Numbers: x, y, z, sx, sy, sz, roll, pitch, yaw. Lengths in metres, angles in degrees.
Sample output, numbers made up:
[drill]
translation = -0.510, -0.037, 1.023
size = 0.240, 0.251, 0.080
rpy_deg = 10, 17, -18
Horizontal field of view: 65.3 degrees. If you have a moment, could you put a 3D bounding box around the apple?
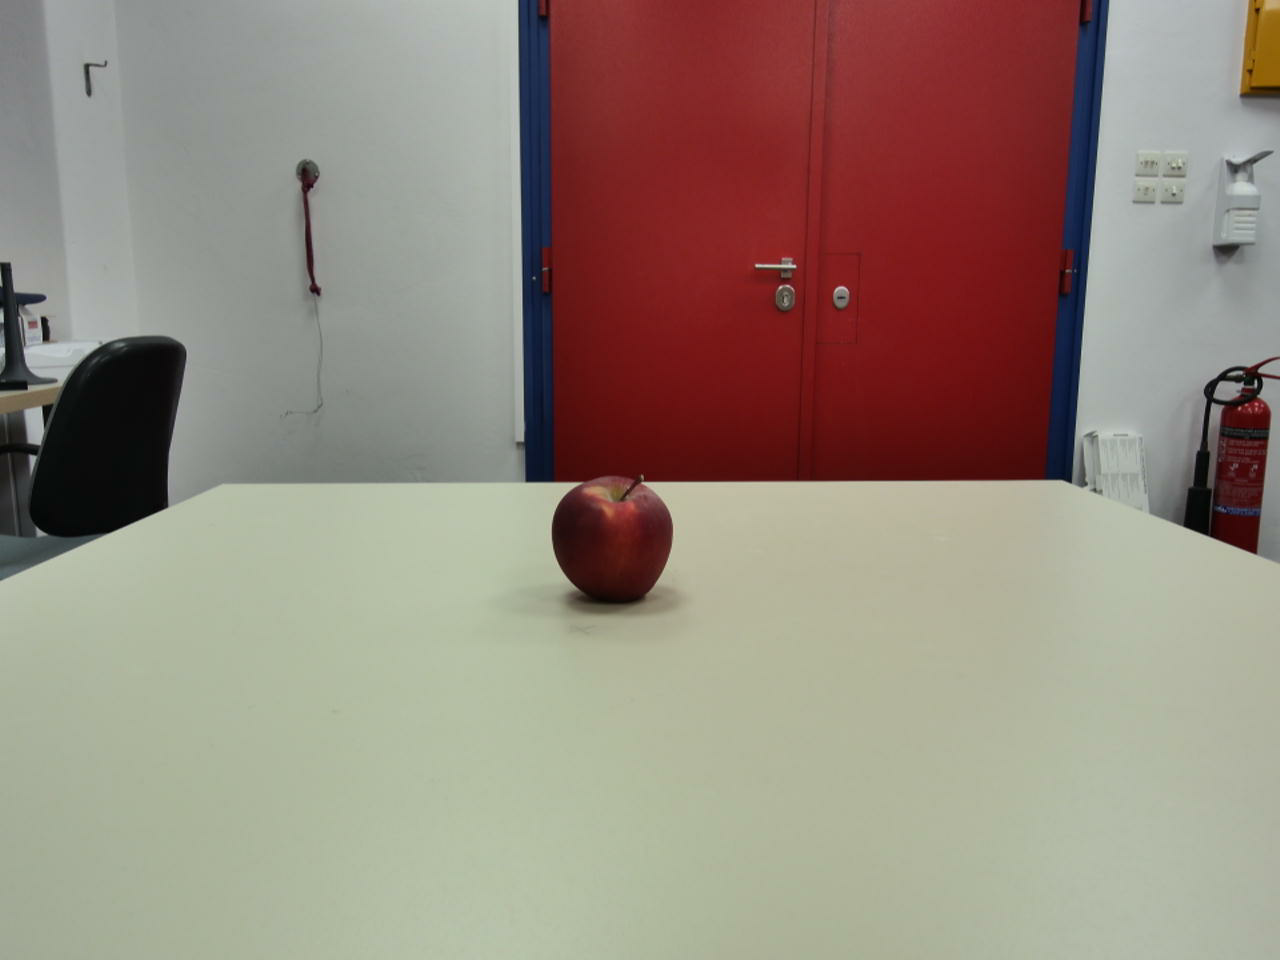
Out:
[apple]
translation = -0.016, 0.031, 0.575
size = 0.070, 0.072, 0.070
rpy_deg = -1, 8, 0
